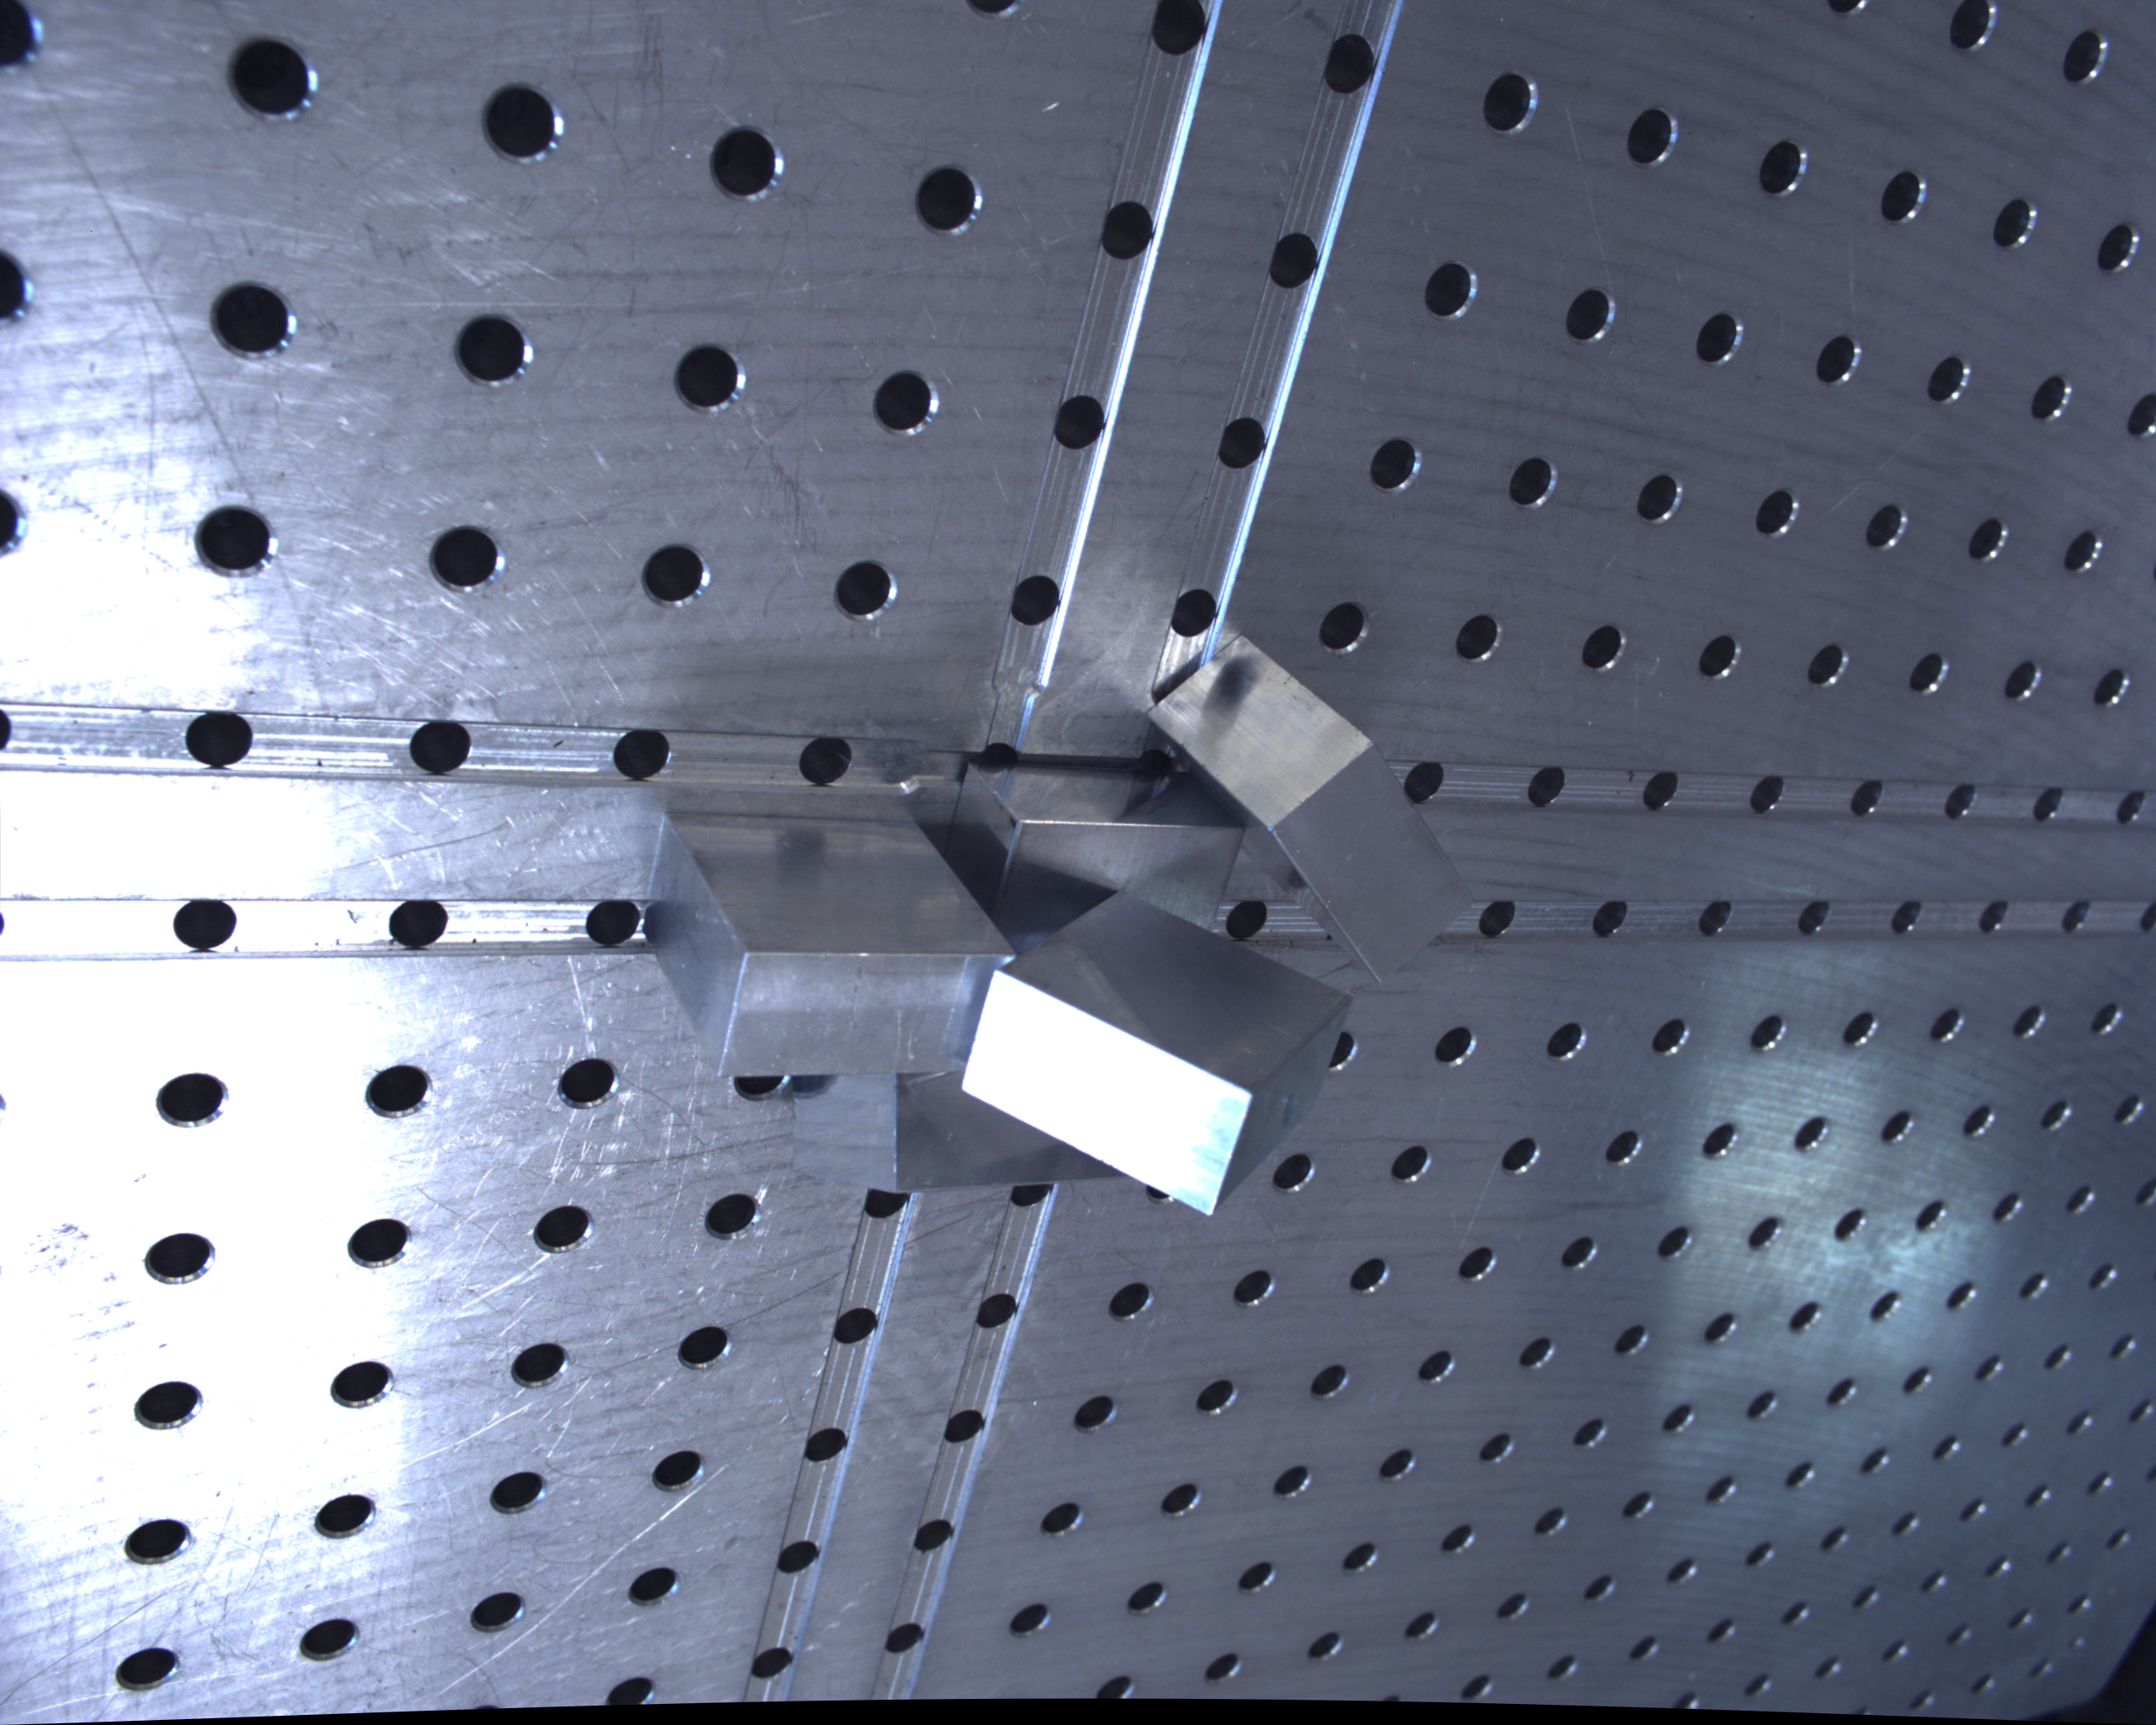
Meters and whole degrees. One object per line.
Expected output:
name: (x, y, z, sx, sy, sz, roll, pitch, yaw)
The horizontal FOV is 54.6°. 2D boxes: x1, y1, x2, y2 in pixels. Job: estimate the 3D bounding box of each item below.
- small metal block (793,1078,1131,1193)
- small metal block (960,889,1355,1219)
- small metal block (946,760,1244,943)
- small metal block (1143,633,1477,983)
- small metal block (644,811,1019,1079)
small metal block: (-0.023, 0.049, 0.409, 0.050, 0.050, 0.025, 1, 86, -29)
small metal block: (0.015, 0.033, 0.377, 0.050, 0.050, 0.025, -31, 142, -59)
small metal block: (0.000, 0.008, 0.415, 0.050, 0.025, 0.050, 1, 118, -30)
small metal block: (0.046, -0.011, 0.412, 0.025, 0.050, 0.050, -41, 130, -1)
small metal block: (-0.046, 0.014, 0.378, 0.050, 0.050, 0.025, 2, 118, -29)
